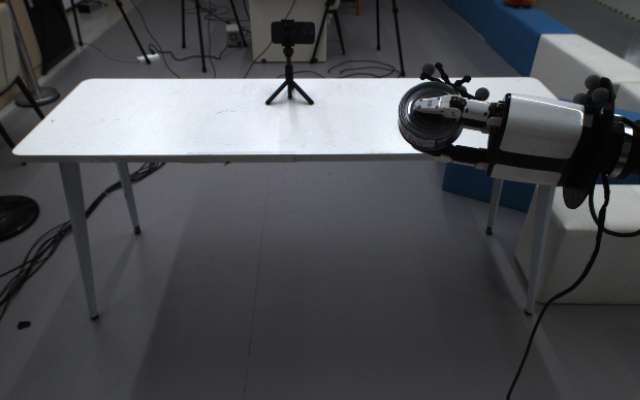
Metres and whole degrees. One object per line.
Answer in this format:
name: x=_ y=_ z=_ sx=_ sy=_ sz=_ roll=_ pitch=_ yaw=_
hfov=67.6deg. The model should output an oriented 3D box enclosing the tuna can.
tuna can: x=0.146 y=-0.113 z=0.631 sx=0.085 sy=0.034 sz=0.085 roll=-4 pitch=69 yaw=10
